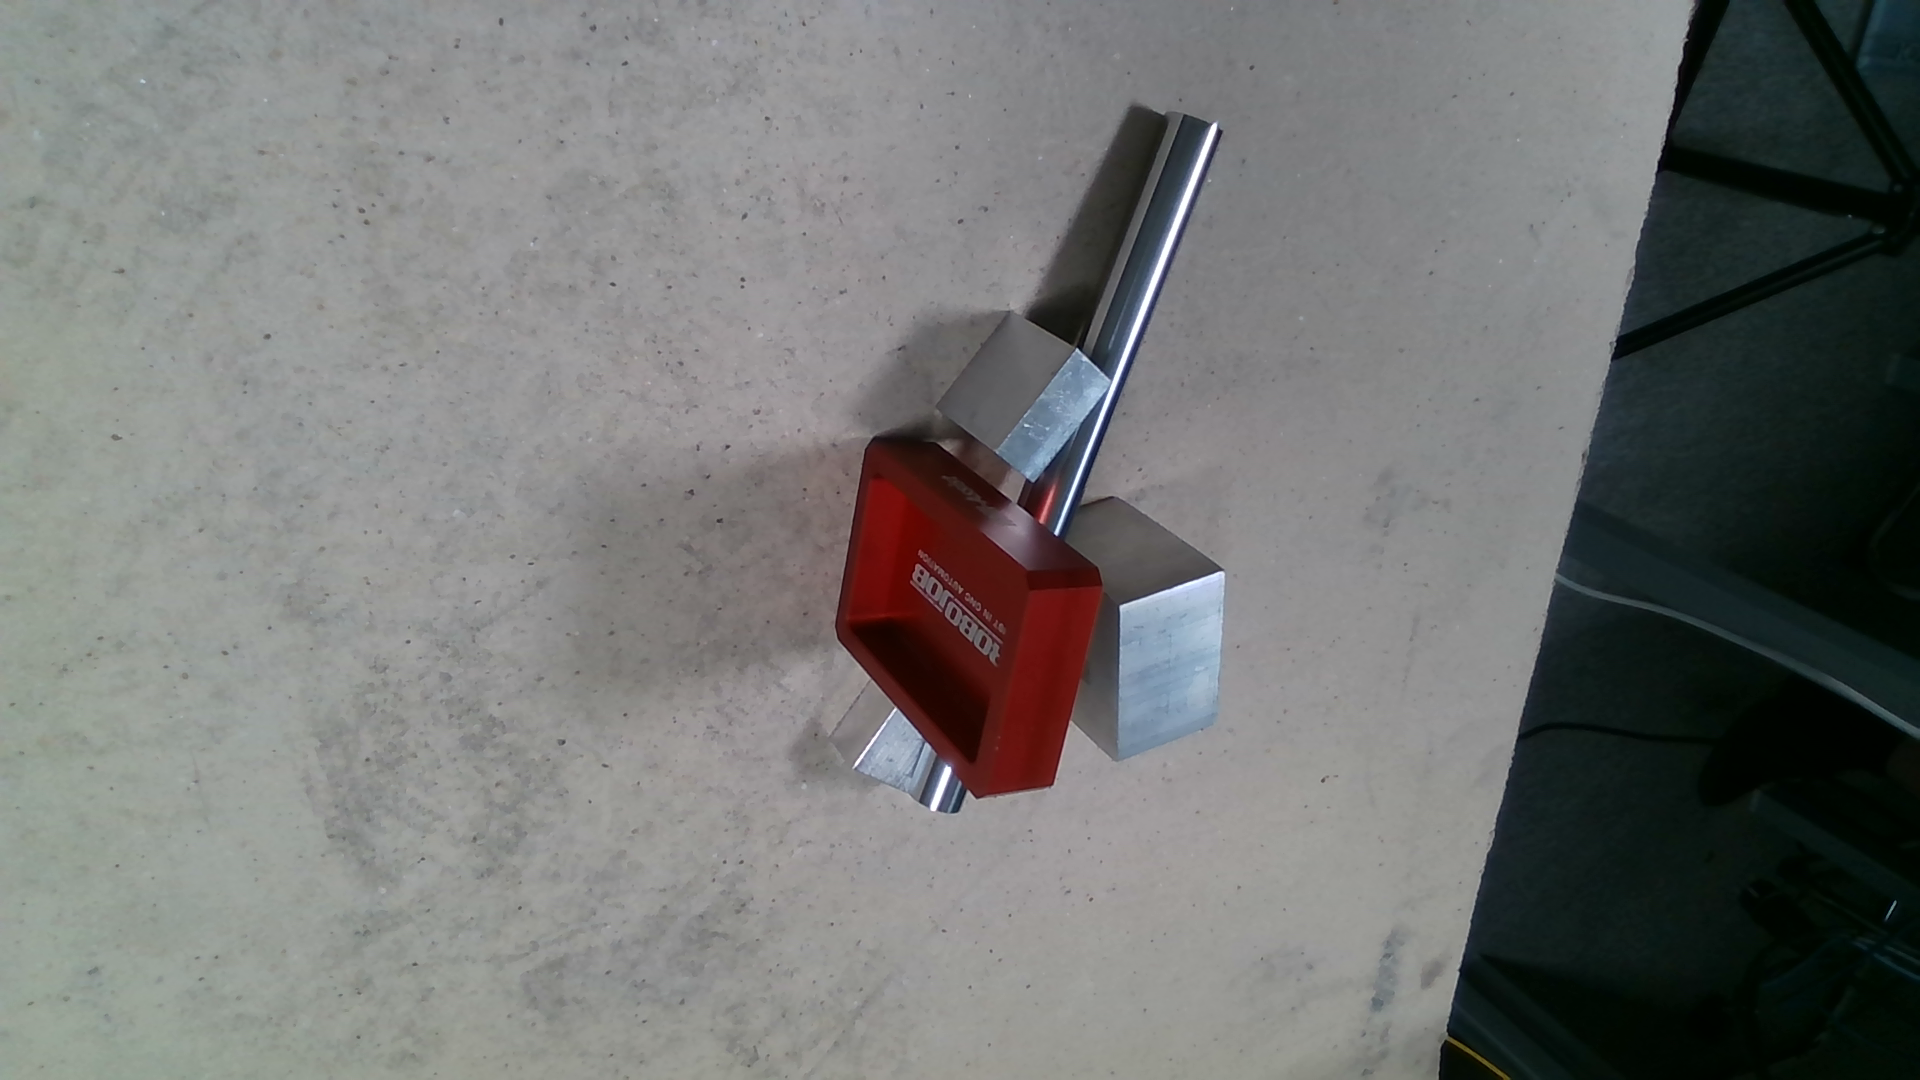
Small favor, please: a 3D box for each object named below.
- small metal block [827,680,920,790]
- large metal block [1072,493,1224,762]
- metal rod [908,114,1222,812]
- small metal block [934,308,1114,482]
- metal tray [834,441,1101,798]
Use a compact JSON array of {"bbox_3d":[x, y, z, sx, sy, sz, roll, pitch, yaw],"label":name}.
[{"bbox_3d":[-0.022,0.082,0.612,0.050,0.025,0.050,32,96,-39],"label":"small metal block"},{"bbox_3d":[0.069,0.037,0.606,0.050,0.080,0.080,-16,122,-24],"label":"large metal block"},{"bbox_3d":[0.041,-0.026,0.574,0.025,0.025,0.300,14,102,-36],"label":"metal rod"},{"bbox_3d":[0.025,-0.058,0.548,0.025,0.050,0.050,36,93,-39],"label":"small metal block"},{"bbox_3d":[-0.003,0.026,0.526,0.030,0.130,0.090,-2,116,-31],"label":"metal tray"}]
